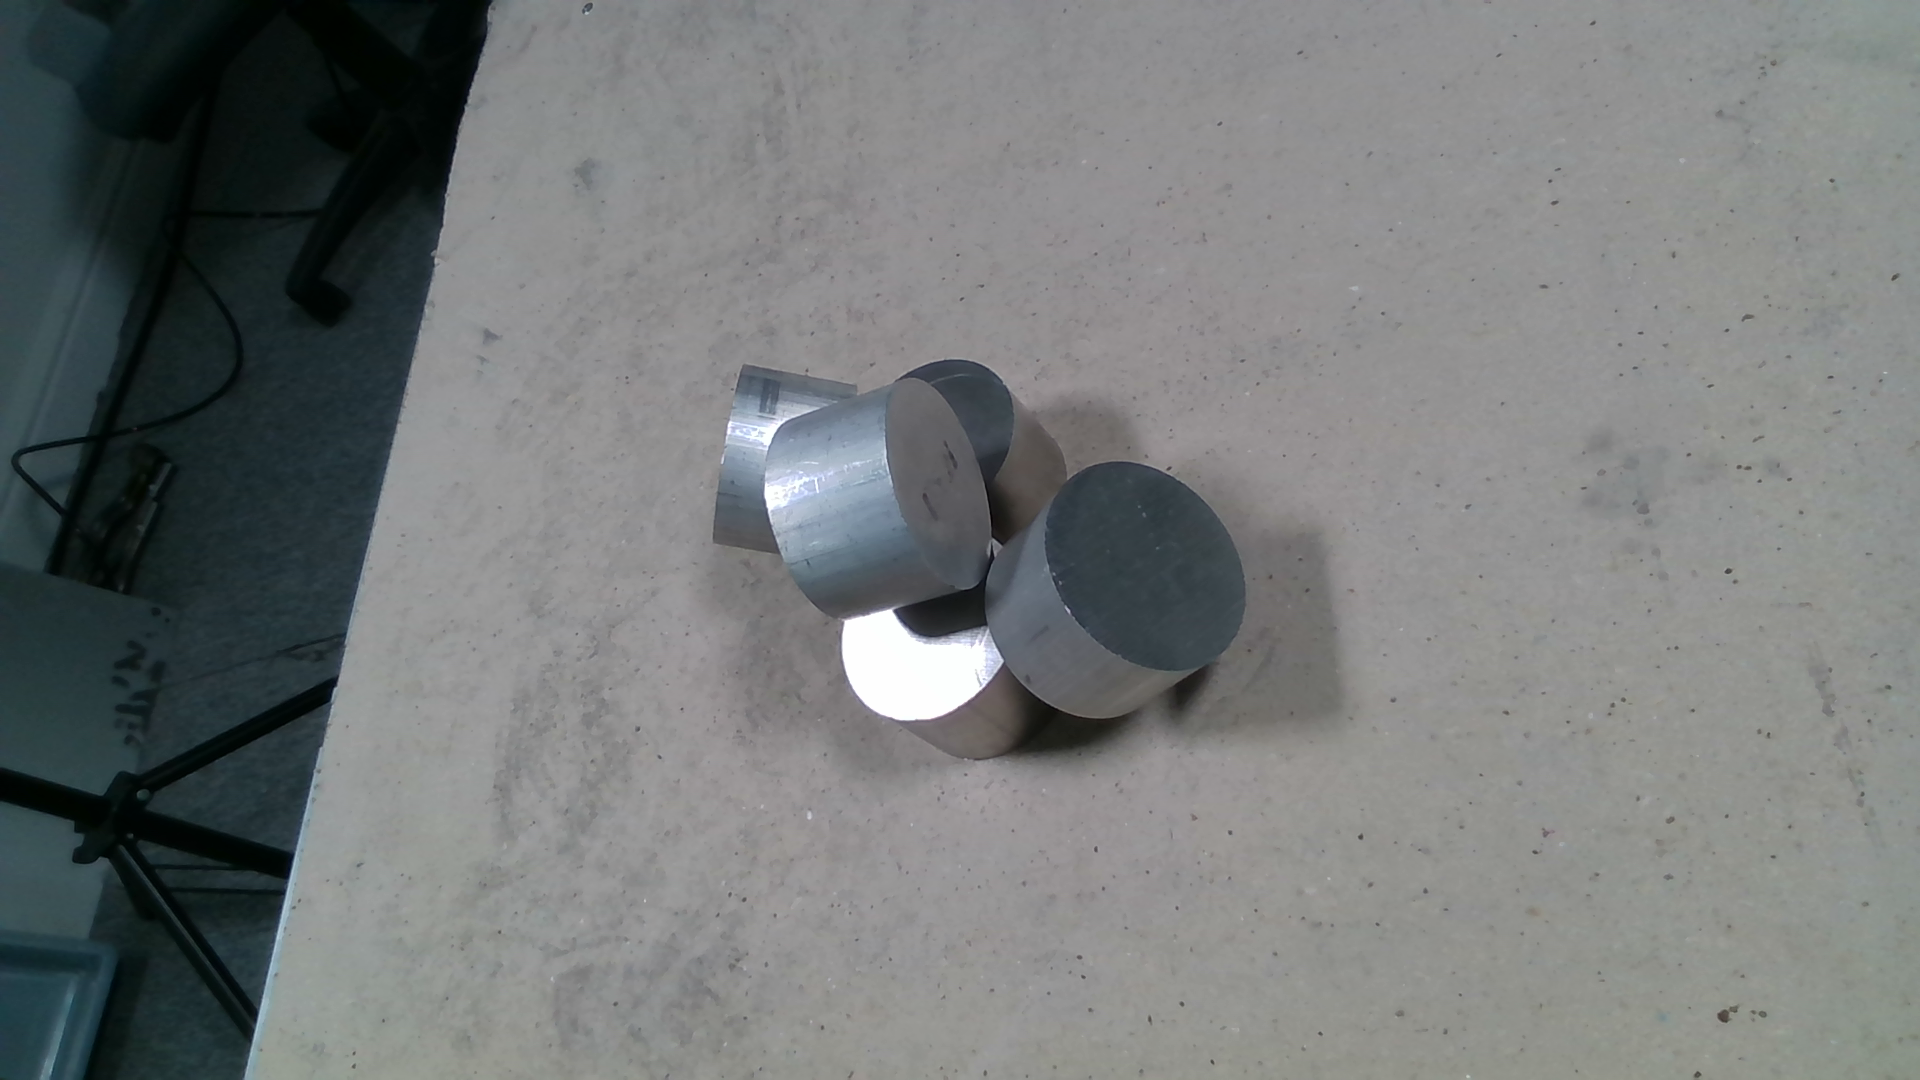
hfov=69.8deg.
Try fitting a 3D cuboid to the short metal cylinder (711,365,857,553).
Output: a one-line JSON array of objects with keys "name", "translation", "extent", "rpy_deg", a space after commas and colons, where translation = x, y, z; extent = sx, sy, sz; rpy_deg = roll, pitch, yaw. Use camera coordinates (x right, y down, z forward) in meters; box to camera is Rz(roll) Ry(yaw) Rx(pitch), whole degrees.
[{"name": "short metal cylinder", "translation": [-0.077, -0.034, 0.607], "extent": [0.050, 0.080, 0.080], "rpy_deg": [10, 65, -7]}]

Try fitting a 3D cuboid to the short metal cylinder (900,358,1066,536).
[{"name": "short metal cylinder", "translation": [-0.002, -0.030, 0.586], "extent": [0.080, 0.050, 0.080], "rpy_deg": [-14, 59, 25]}]

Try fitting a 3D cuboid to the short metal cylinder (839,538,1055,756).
[{"name": "short metal cylinder", "translation": [-0.001, 0.041, 0.548], "extent": [0.080, 0.050, 0.080], "rpy_deg": [-14, 59, 25]}]

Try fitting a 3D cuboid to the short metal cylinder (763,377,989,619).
[{"name": "short metal cylinder", "translation": [-0.029, -0.015, 0.511], "extent": [0.050, 0.080, 0.080], "rpy_deg": [-16, 58, 24]}]

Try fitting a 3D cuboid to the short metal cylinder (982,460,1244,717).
[{"name": "short metal cylinder", "translation": [0.055, 0.018, 0.498], "extent": [0.050, 0.080, 0.080], "rpy_deg": [133, 143, -54]}]
